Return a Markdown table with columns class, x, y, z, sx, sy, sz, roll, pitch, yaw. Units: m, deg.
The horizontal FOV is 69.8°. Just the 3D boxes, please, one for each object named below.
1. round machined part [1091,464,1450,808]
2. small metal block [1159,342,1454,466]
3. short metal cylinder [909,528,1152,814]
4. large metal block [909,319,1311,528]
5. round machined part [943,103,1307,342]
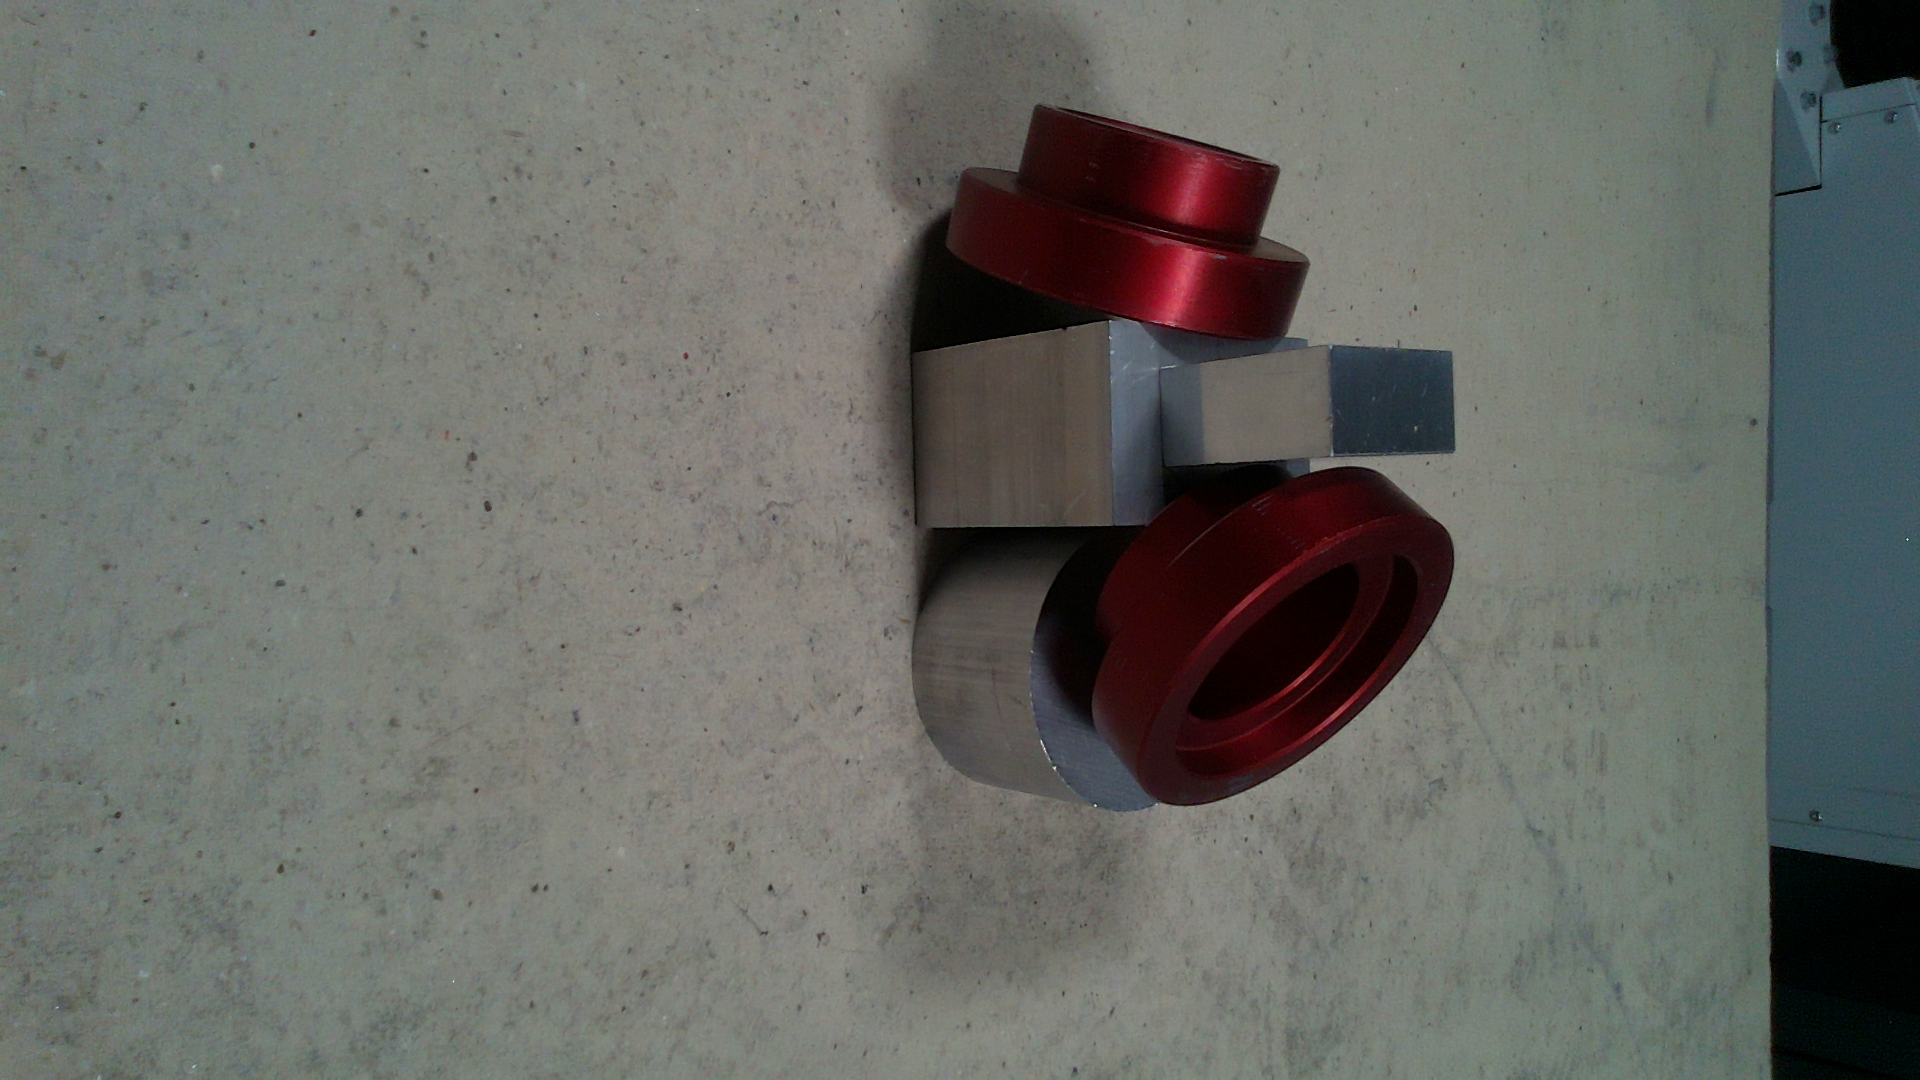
| class | x | y | z | sx | sy | sz | roll | pitch | yaw |
| --- | --- | --- | --- | --- | --- | --- | --- | --- | --- |
| round machined part | 0.074 | 0.020 | 0.354 | 0.098 | 0.042 | 0.098 | -24 | 141 | -21 |
| small metal block | 0.085 | -0.032 | 0.339 | 0.050 | 0.050 | 0.025 | -4 | 92 | -40 |
| short metal cylinder | 0.032 | 0.036 | 0.401 | 0.080 | 0.050 | 0.080 | 0 | 90 | -40 |
| large metal block | 0.042 | -0.030 | 0.388 | 0.080 | 0.080 | 0.050 | -3 | 92 | -40 |
| round machined part | 0.048 | -0.090 | 0.376 | 0.098 | 0.098 | 0.042 | -3 | 117 | -40 |
